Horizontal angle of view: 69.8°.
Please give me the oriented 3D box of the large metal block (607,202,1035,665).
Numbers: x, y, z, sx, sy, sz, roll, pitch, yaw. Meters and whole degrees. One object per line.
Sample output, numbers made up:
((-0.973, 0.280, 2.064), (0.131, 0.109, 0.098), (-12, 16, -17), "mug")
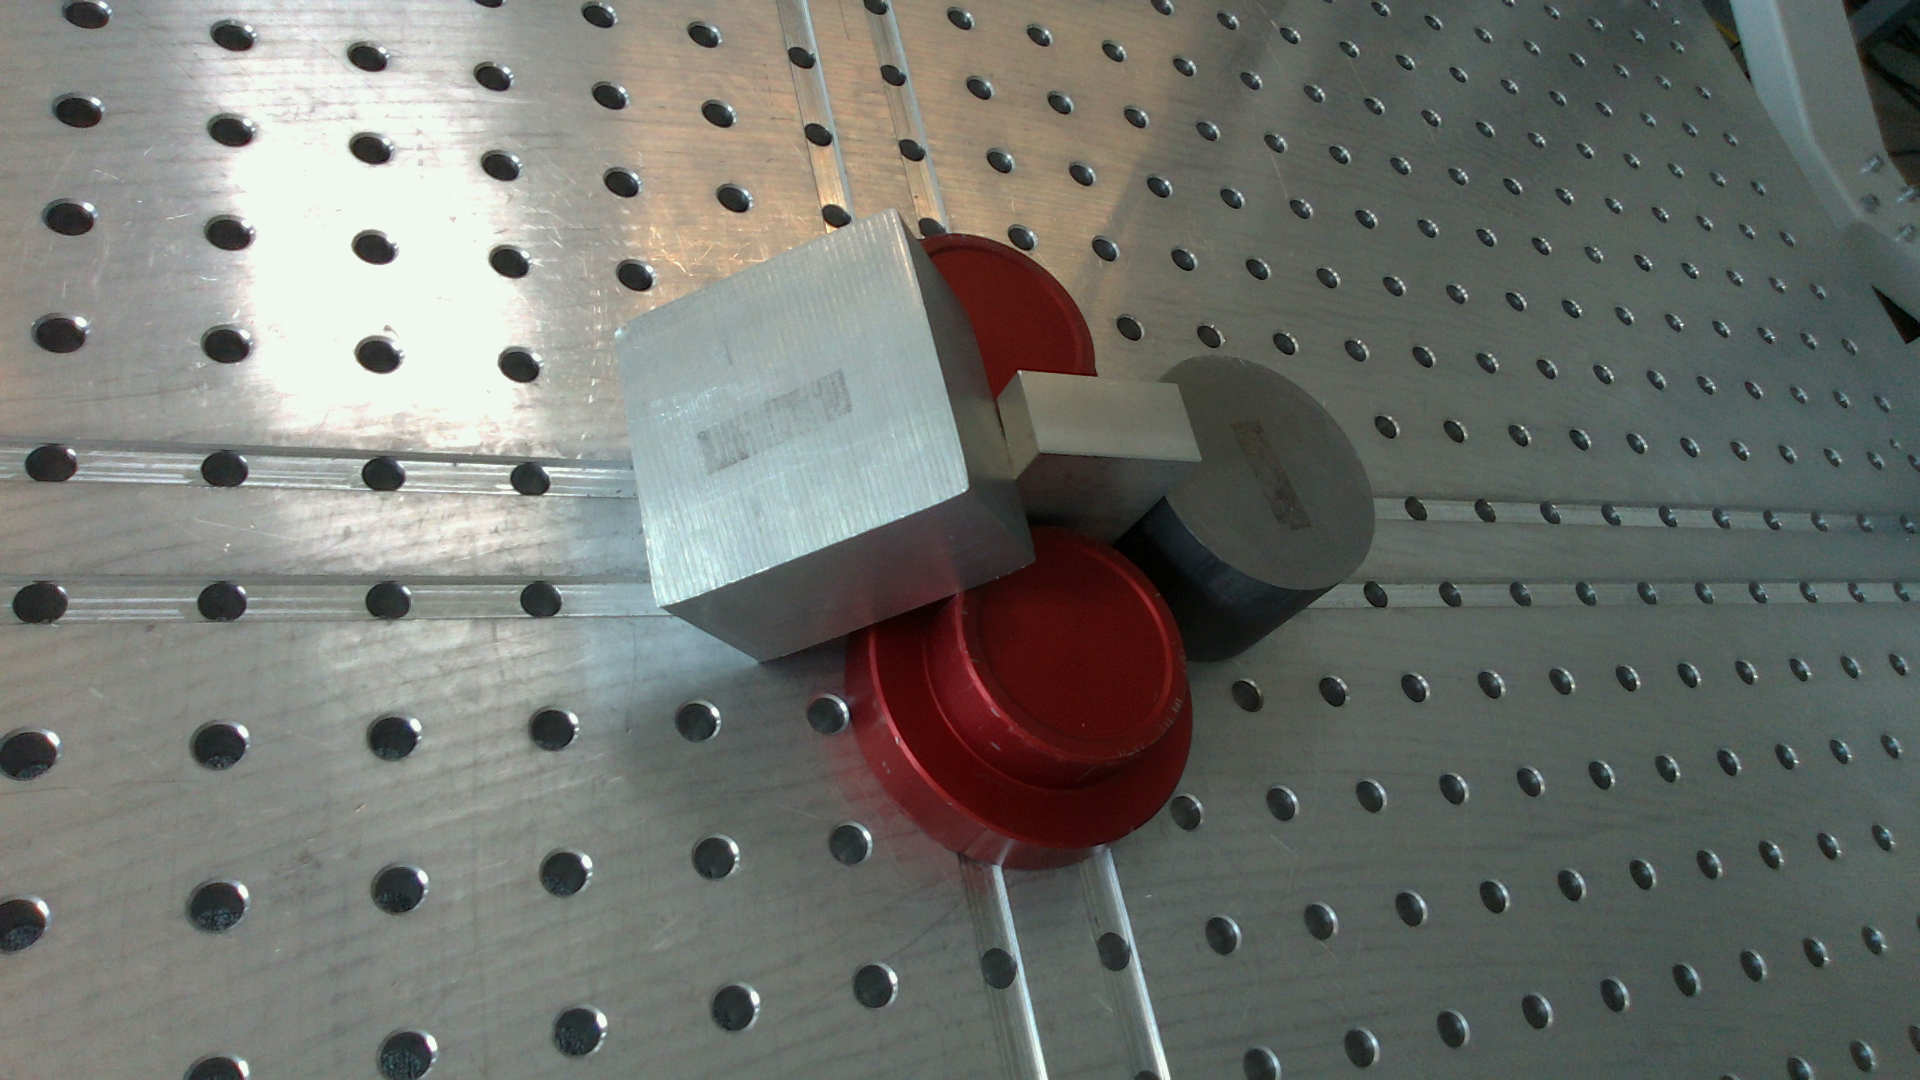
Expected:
((-0.035, -0.024, 0.346), (0.050, 0.080, 0.080), (44, 28, -62), "large metal block")

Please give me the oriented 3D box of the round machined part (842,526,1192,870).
((0.021, 0.036, 0.372), (0.098, 0.042, 0.098), (14, 56, -21), "round machined part")

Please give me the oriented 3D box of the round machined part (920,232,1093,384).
((0.000, -0.053, 0.415), (0.098, 0.042, 0.098), (14, 56, -21), "round machined part")

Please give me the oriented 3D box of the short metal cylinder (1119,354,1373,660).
((0.079, -0.010, 0.424), (0.080, 0.050, 0.080), (14, 56, -21), "short metal cylinder")

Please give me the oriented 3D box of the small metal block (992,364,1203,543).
((0.029, -0.022, 0.377), (0.050, 0.050, 0.025), (1, 61, -27), "small metal block")
